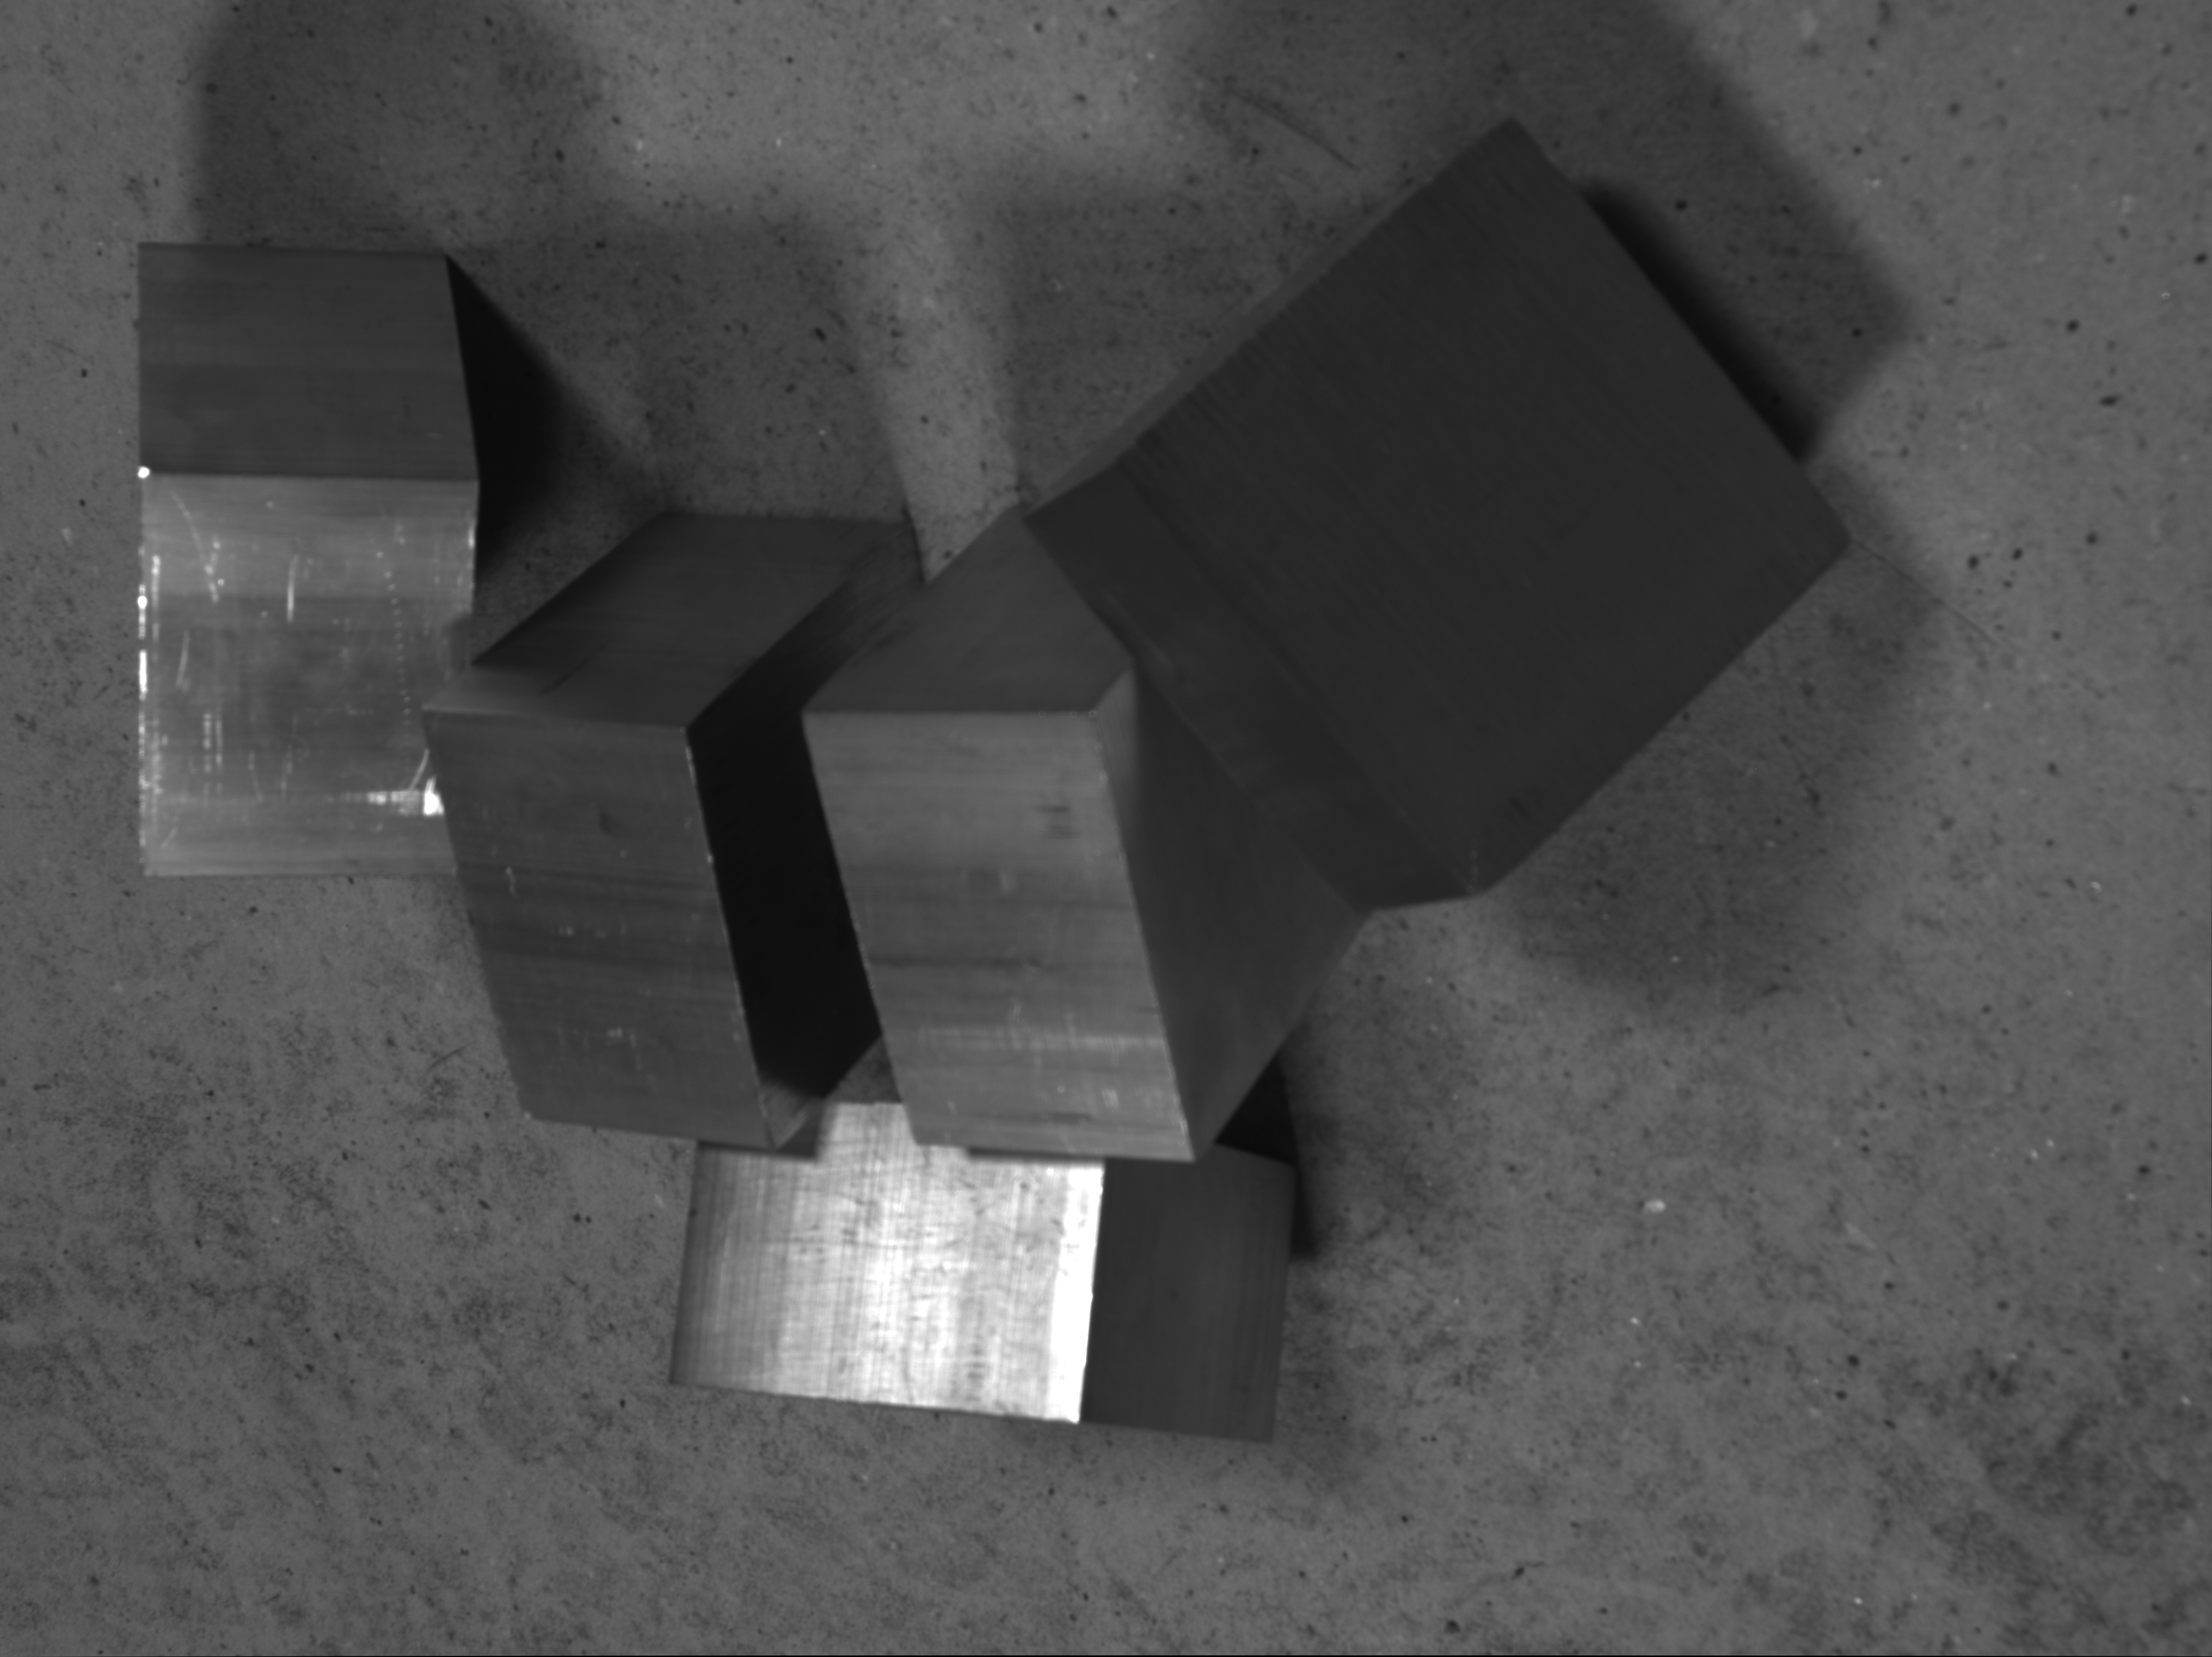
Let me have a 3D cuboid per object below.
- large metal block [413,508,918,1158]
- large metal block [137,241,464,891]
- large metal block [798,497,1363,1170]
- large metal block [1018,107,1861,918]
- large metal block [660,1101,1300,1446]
[{"bbox_3d":[-0.068,-0.001,0.630,0.050,0.080,0.080,5,120,24],"label":"large metal block"},{"bbox_3d":[-0.140,-0.045,0.628,0.050,0.080,0.080,0,126,-15],"label":"large metal block"},{"bbox_3d":[-0.001,-0.001,0.596,0.050,0.080,0.080,1,119,26],"label":"large metal block"},{"bbox_3d":[0.048,-0.044,0.538,0.080,0.080,0.050,50,165,-7],"label":"large metal block"},{"bbox_3d":[-0.020,0.079,0.646,0.080,0.080,0.050,1,79,26],"label":"large metal block"}]
